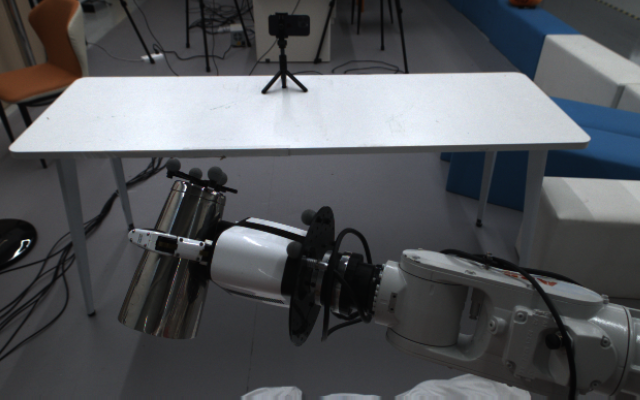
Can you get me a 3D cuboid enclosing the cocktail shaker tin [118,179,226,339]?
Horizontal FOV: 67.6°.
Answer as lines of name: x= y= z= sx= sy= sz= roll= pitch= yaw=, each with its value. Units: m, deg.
cocktail shaker tin: x=-0.168 y=0.068 z=0.577 sx=0.093 sy=0.170 sz=0.093 roll=15 pitch=-6 yaw=2
